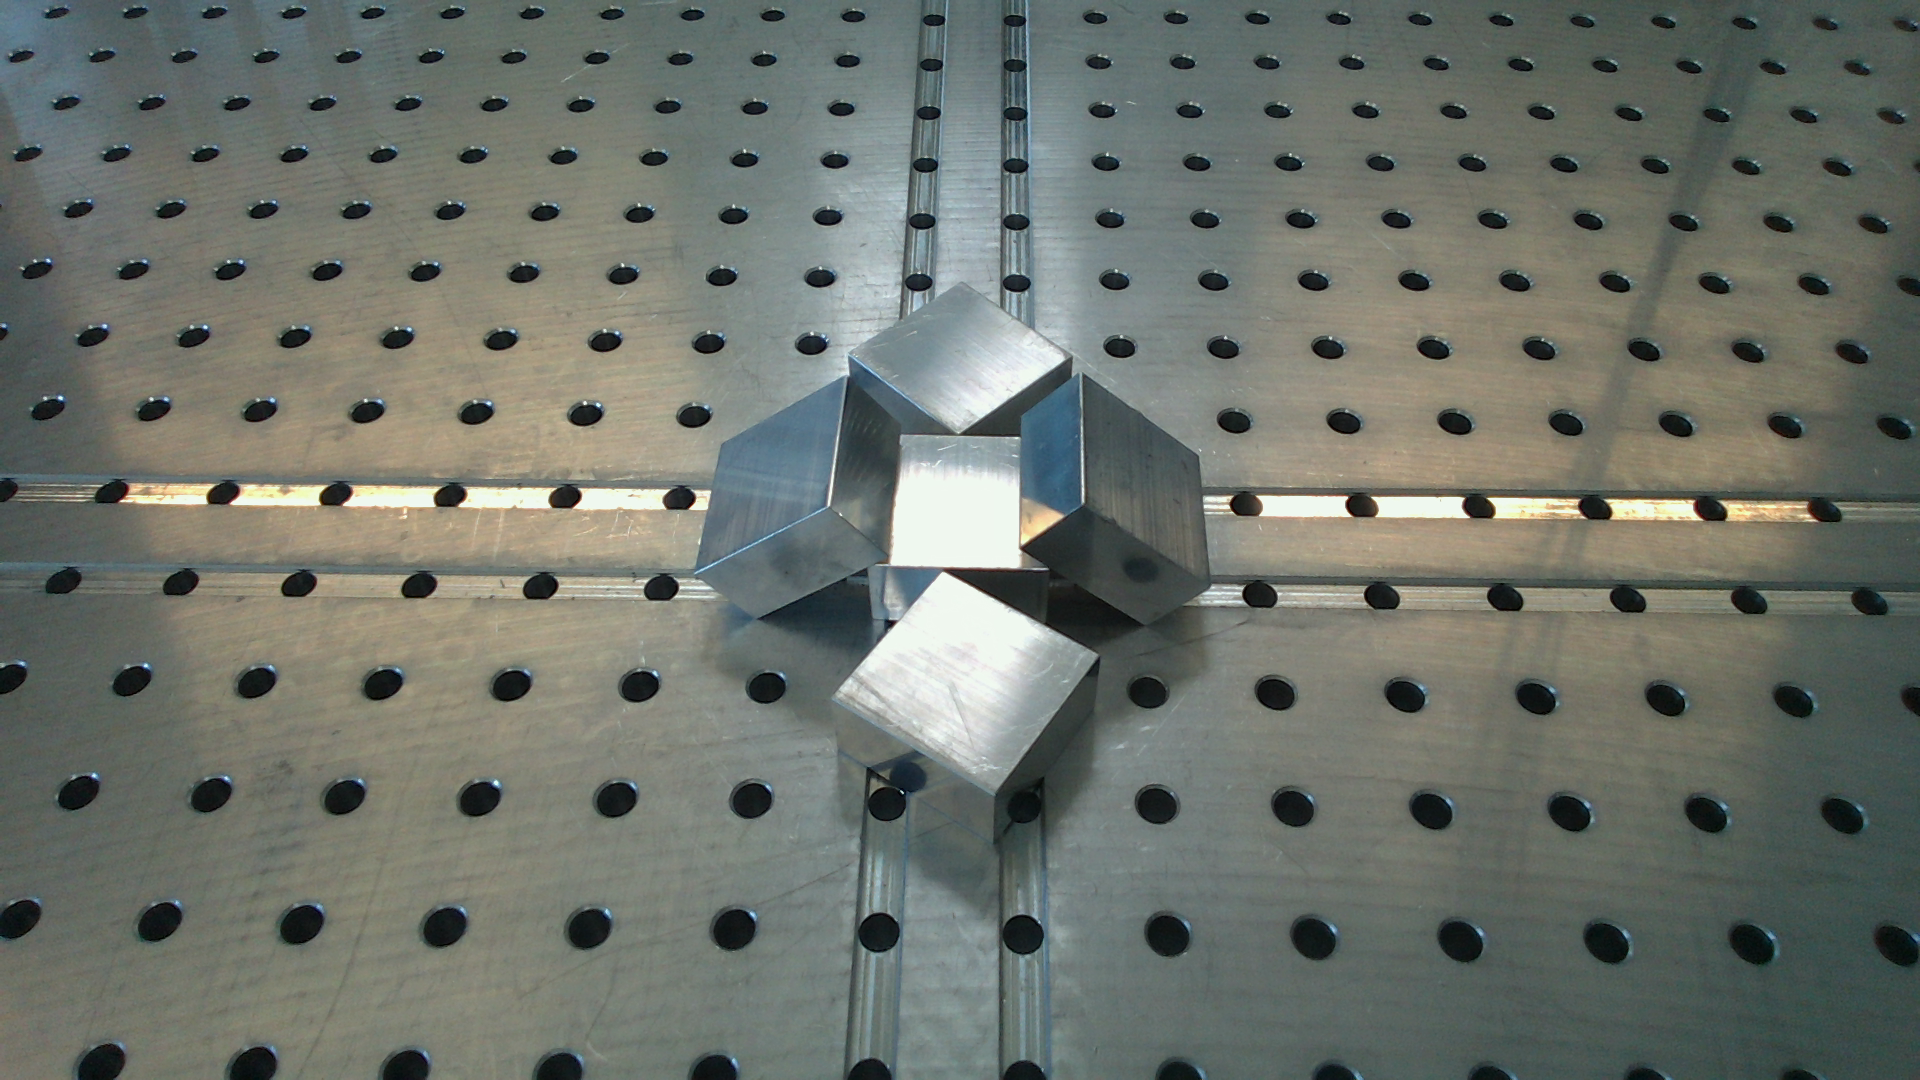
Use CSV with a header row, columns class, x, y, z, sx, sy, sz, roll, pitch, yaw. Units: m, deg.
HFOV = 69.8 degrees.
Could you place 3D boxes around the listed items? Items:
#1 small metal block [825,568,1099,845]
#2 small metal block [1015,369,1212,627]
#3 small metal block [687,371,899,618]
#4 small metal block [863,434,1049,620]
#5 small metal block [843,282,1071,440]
class,x,y,z,sx,sy,sz,roll,pitch,yaw
small metal block,0.001,0.042,0.358,0.050,0.025,0.050,27,55,22
small metal block,0.043,-0.011,0.386,0.050,0.025,0.050,30,43,-28
small metal block,-0.046,-0.013,0.388,0.050,0.025,0.050,-24,44,29
small metal block,0.000,-0.004,0.397,0.050,0.025,0.050,1,49,1
small metal block,-0.001,-0.050,0.436,0.050,0.025,0.050,-36,58,-27
